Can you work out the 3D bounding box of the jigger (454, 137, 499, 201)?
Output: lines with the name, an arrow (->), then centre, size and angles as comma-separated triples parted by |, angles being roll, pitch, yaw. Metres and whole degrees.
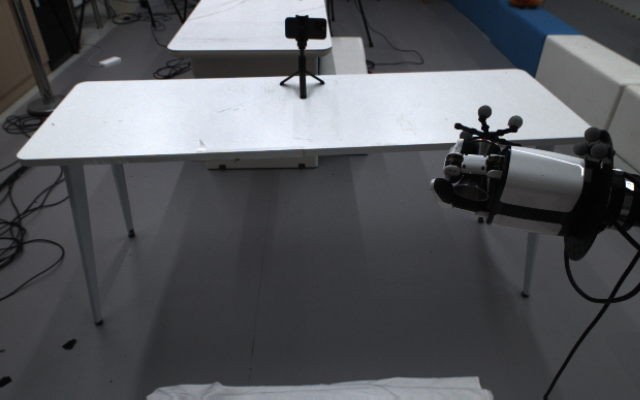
jigger -> 0.201, -0.042, 0.616 | 0.043, 0.043, 0.071 | 16, 70, 19
